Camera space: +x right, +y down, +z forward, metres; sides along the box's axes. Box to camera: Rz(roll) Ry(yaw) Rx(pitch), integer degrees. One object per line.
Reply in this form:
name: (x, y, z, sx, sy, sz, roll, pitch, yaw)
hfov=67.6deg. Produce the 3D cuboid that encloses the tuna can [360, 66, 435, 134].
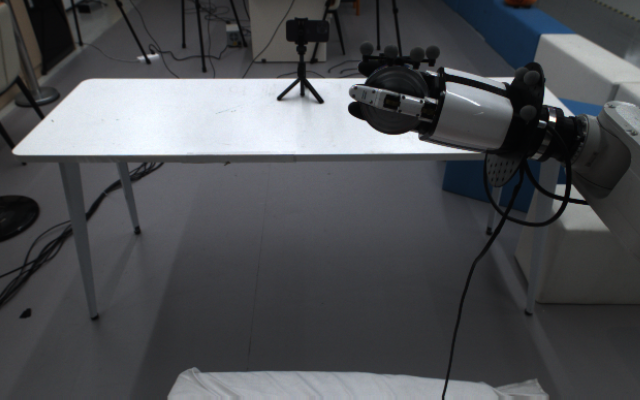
tuna can: (0.097, -0.124, 0.609, 0.085, 0.085, 0.034, 7, 23, 6)
